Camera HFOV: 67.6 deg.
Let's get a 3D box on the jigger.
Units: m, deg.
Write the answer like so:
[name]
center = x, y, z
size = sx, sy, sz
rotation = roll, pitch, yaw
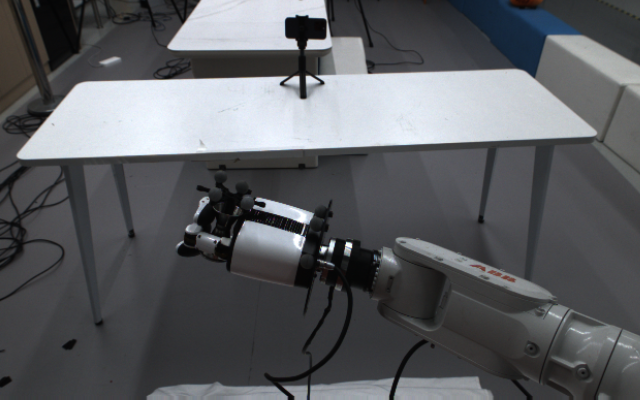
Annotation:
[jigger]
center = -0.127, 0.042, 0.635
size = 0.043, 0.071, 0.043
rotation = 18, 17, -6
